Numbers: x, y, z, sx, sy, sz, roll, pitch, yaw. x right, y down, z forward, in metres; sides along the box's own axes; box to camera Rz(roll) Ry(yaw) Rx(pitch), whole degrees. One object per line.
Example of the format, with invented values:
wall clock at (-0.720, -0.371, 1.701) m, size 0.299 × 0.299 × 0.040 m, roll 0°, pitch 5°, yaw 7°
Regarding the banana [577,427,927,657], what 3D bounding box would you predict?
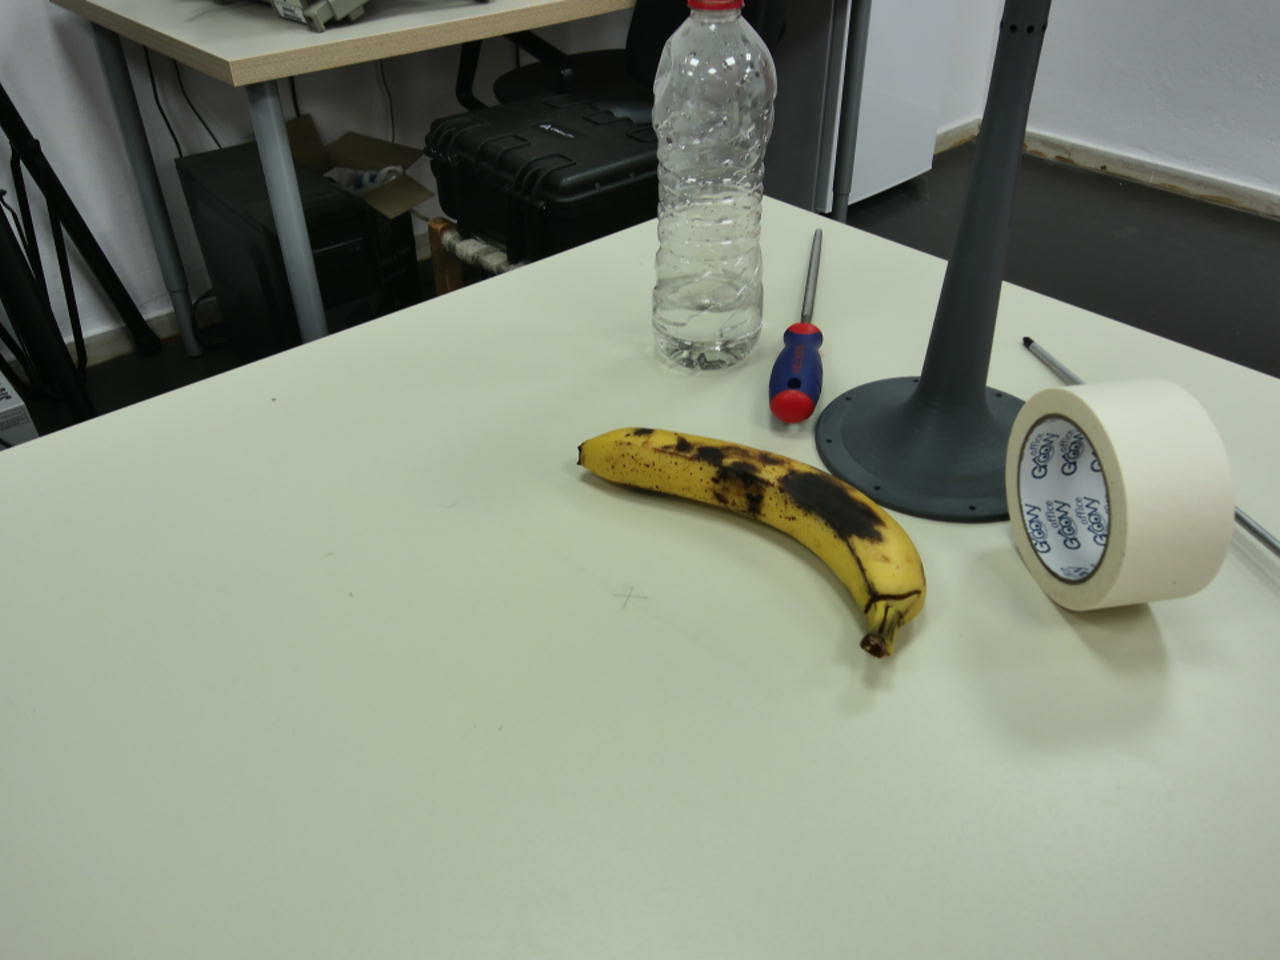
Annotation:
banana at (0.064, 0.014, 0.526) m, size 0.084 × 0.037 × 0.222 m, roll -27°, pitch 43°, yaw -31°
